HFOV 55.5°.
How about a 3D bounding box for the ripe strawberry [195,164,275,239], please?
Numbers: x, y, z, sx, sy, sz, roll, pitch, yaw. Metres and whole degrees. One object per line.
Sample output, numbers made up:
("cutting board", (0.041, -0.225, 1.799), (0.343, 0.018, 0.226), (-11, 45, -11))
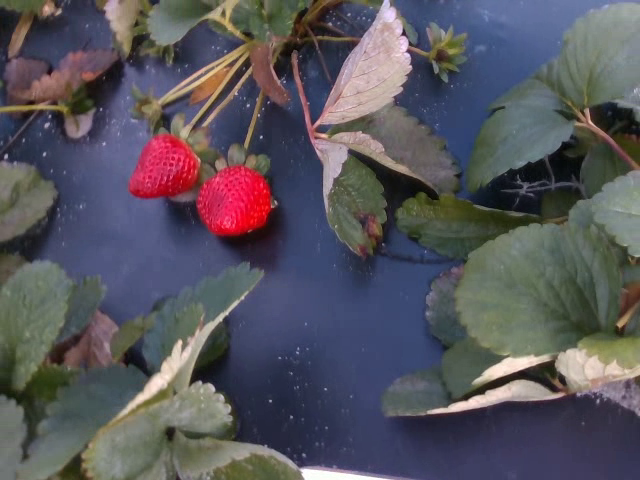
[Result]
("ripe strawberry", (-0.060, -0.025, 0.384), (0.057, 0.051, 0.064), (-17, 34, 10))

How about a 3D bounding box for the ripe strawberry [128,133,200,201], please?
("ripe strawberry", (-0.109, -0.047, 0.415), (0.048, 0.056, 0.041), (17, -37, 22))
